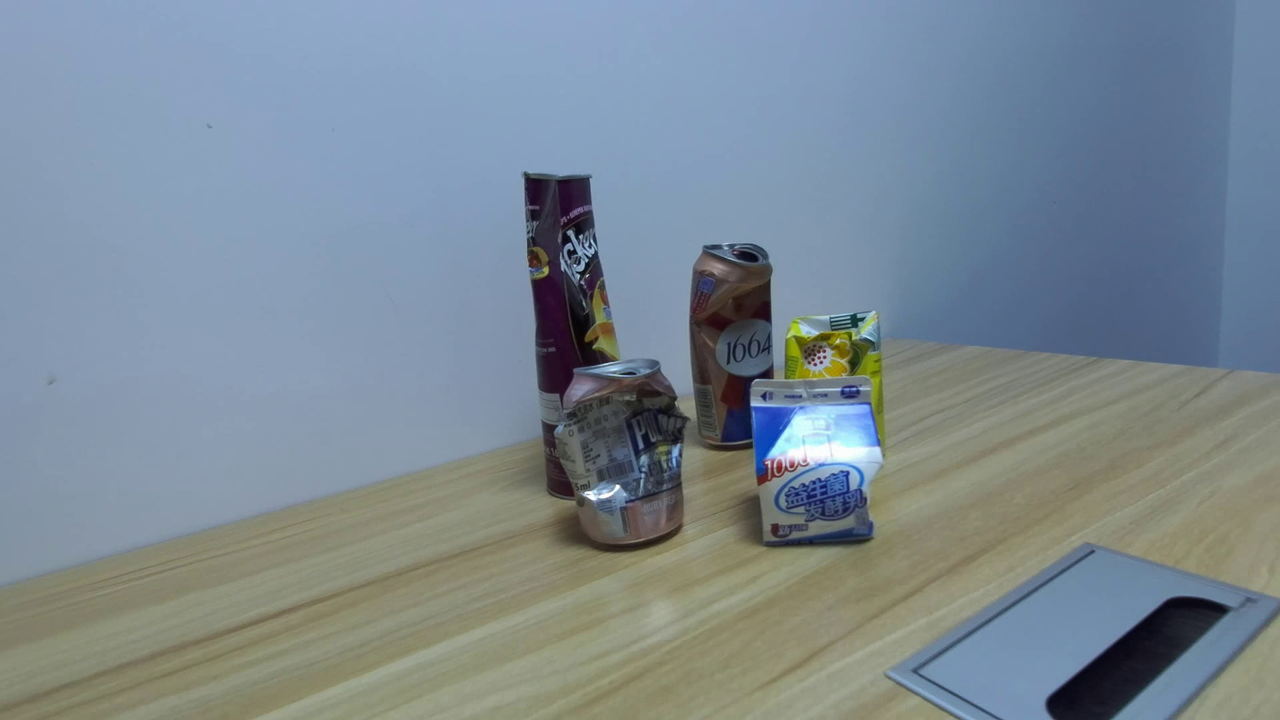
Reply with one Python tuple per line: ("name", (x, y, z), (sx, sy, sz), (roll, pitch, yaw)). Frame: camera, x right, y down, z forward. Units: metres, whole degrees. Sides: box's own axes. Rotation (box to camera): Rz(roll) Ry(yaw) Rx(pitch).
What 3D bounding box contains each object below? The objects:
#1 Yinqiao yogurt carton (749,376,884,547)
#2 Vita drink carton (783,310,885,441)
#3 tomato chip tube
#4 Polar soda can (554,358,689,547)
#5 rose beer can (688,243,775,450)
("Yinqiao yogurt carton", (0.104, 0.054, 0.421), (0.074, 0.097, 0.080), (-5, 20, 6))
("Vita drink carton", (0.143, 0.023, 0.520), (0.071, 0.109, 0.046), (-2, 9, 26))
("tomato chip tube", (-0.047, -0.018, 0.526), (0.090, 0.235, 0.077), (-11, 12, -31))
("Polar soda can", (-0.008, 0.056, 0.443), (0.070, 0.114, 0.074), (2, 17, 16))
("rose beer can", (0.078, -0.011, 0.588), (0.070, 0.168, 0.069), (-1, 14, 7))
